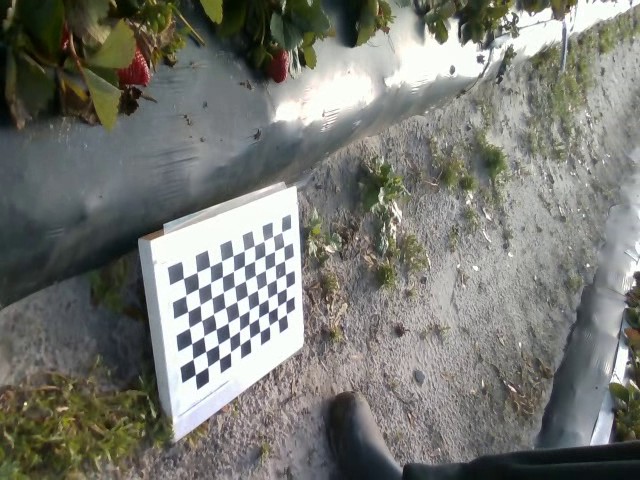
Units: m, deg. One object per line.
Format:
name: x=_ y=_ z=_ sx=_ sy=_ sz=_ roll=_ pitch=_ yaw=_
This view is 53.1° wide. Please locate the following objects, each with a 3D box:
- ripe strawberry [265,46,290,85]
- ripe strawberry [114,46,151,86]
ripe strawberry: x=-0.036 y=-0.153 z=0.555 sx=0.021 sy=0.036 sz=0.029 roll=1 pitch=15 yaw=39
ripe strawberry: x=-0.126 y=-0.111 z=0.411 sx=0.025 sy=0.032 sz=0.030 roll=-7 pitch=-42 yaw=48
